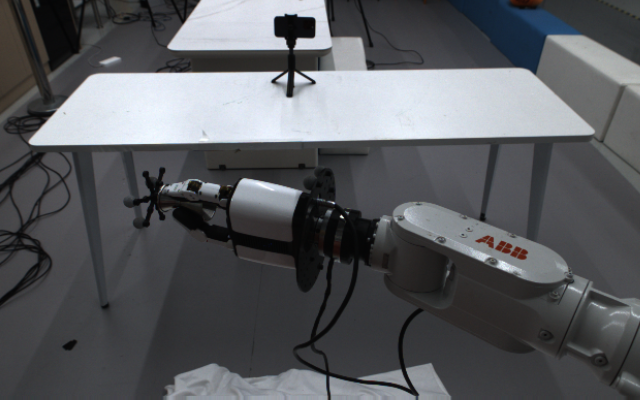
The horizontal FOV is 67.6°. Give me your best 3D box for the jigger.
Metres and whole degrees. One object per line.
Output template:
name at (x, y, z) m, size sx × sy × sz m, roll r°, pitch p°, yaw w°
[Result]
jigger at (-0.175, -0.002, 0.660) m, size 0.071 × 0.043 × 0.043 m, roll 8°, pitch 35°, yaw 14°
